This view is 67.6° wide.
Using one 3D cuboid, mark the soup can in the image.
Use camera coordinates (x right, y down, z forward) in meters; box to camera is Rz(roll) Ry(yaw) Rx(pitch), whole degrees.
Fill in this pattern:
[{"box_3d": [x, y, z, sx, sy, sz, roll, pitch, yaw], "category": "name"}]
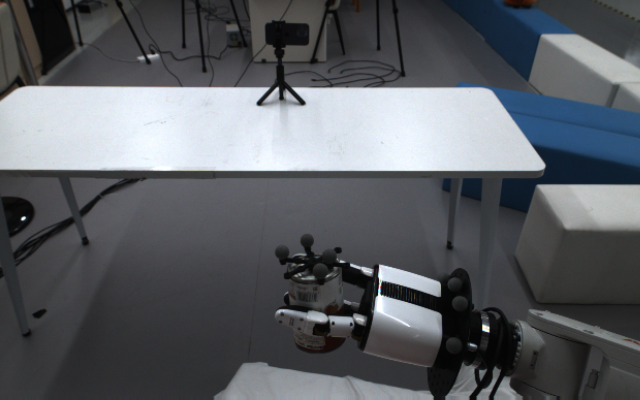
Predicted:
[{"box_3d": [-0.002, 0.127, 0.595, 0.067, 0.101, 0.067, -4, 21, 2], "category": "soup can"}]
